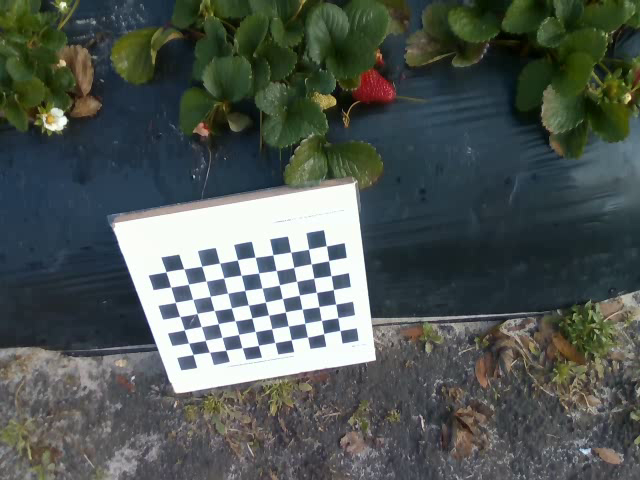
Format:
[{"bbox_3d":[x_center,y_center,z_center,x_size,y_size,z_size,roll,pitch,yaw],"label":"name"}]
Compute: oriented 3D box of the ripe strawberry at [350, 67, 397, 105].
[{"bbox_3d":[0.059,-0.166,0.601,0.064,0.051,0.043,20,24,-14],"label":"ripe strawberry"}]
